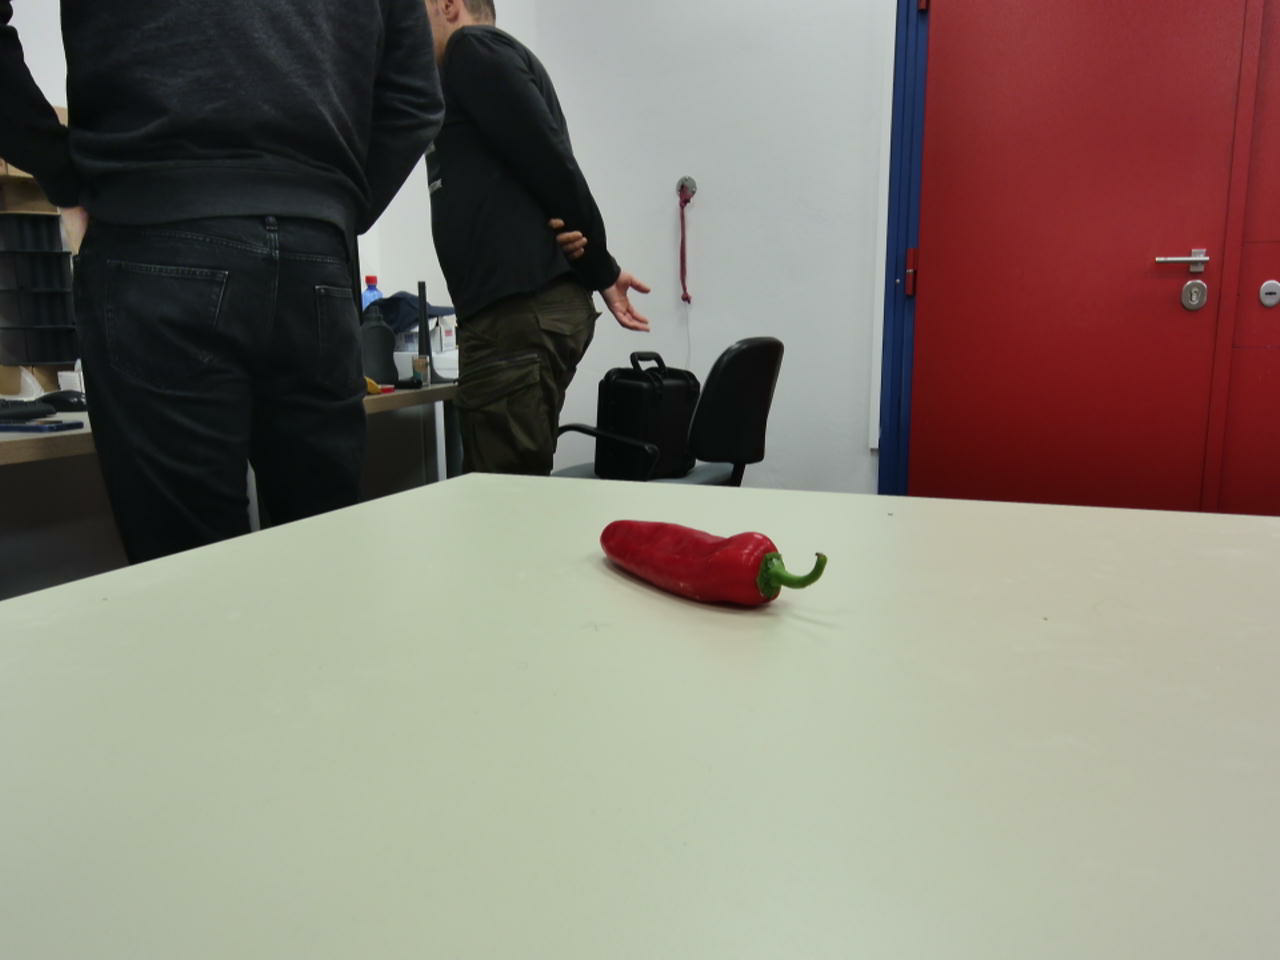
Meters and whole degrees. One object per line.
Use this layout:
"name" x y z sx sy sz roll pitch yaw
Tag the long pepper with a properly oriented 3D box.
"long pepper" 0.030 0.047 0.618 0.050 0.043 0.211 -5 9 -34
